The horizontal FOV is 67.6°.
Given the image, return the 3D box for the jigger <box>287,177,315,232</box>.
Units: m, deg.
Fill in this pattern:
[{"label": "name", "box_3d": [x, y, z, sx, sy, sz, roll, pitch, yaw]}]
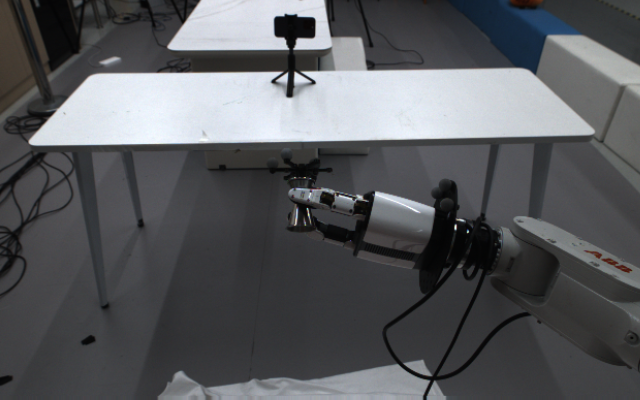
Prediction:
[{"label": "jigger", "box_3d": [-0.026, 0.006, 0.665, 0.043, 0.043, 0.071, 0, 75, -3]}]
